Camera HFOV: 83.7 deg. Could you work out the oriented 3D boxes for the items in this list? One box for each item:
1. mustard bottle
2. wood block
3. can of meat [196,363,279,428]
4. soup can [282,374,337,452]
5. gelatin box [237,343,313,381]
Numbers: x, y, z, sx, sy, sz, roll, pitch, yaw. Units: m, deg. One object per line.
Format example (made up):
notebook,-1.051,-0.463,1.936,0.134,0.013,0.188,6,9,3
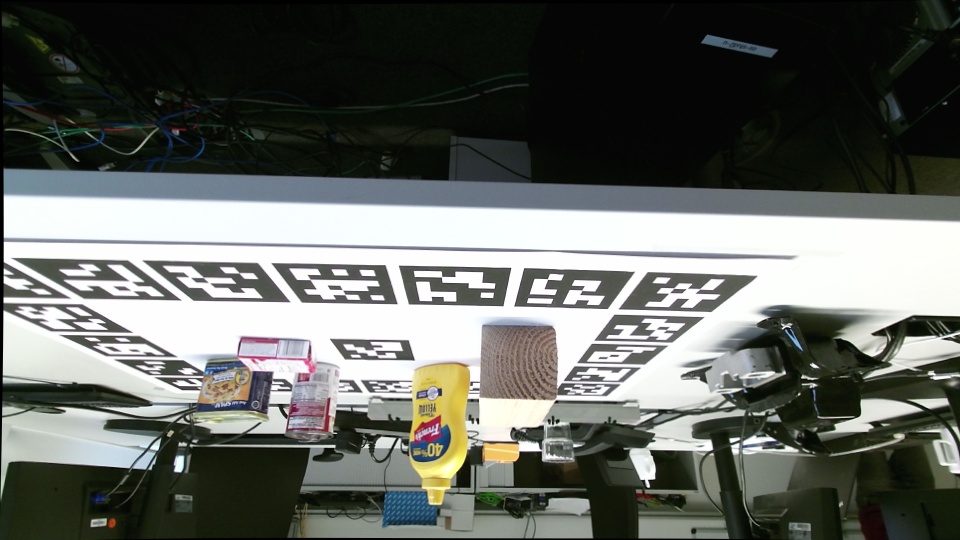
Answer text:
mustard bottle,-0.060,0.242,0.785,0.096,0.190,0.058,-10,152,23
wood block,0.042,0.155,0.714,0.091,0.089,0.206,3,157,-1
can of meat,-0.352,0.185,0.789,0.102,0.083,0.058,-3,152,13
soup can,-0.255,0.213,0.802,0.068,0.101,0.068,0,151,0
gelatin box,-0.272,0.124,0.716,0.090,0.030,0.073,4,151,-11
